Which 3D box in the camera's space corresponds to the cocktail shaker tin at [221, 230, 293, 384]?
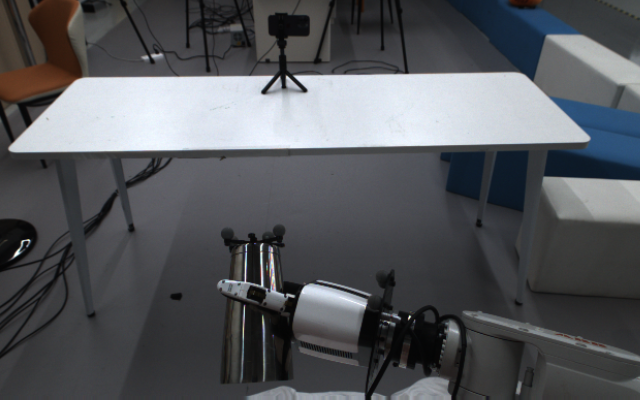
[{"bbox_3d":[-0.083,0.147,0.626,0.093,0.093,0.170,-2,68,-5],"label":"cocktail shaker tin"}]
